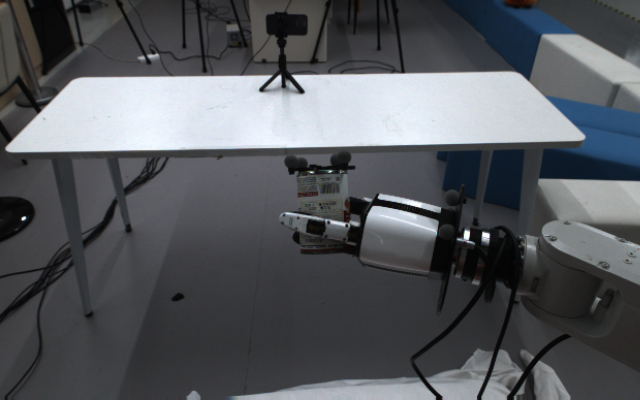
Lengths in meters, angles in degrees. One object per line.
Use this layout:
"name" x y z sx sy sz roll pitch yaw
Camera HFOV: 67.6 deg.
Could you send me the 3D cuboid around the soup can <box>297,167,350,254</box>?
"soup can" 0.007 0.016 0.614 0.067 0.101 0.067 -3 -1 0
